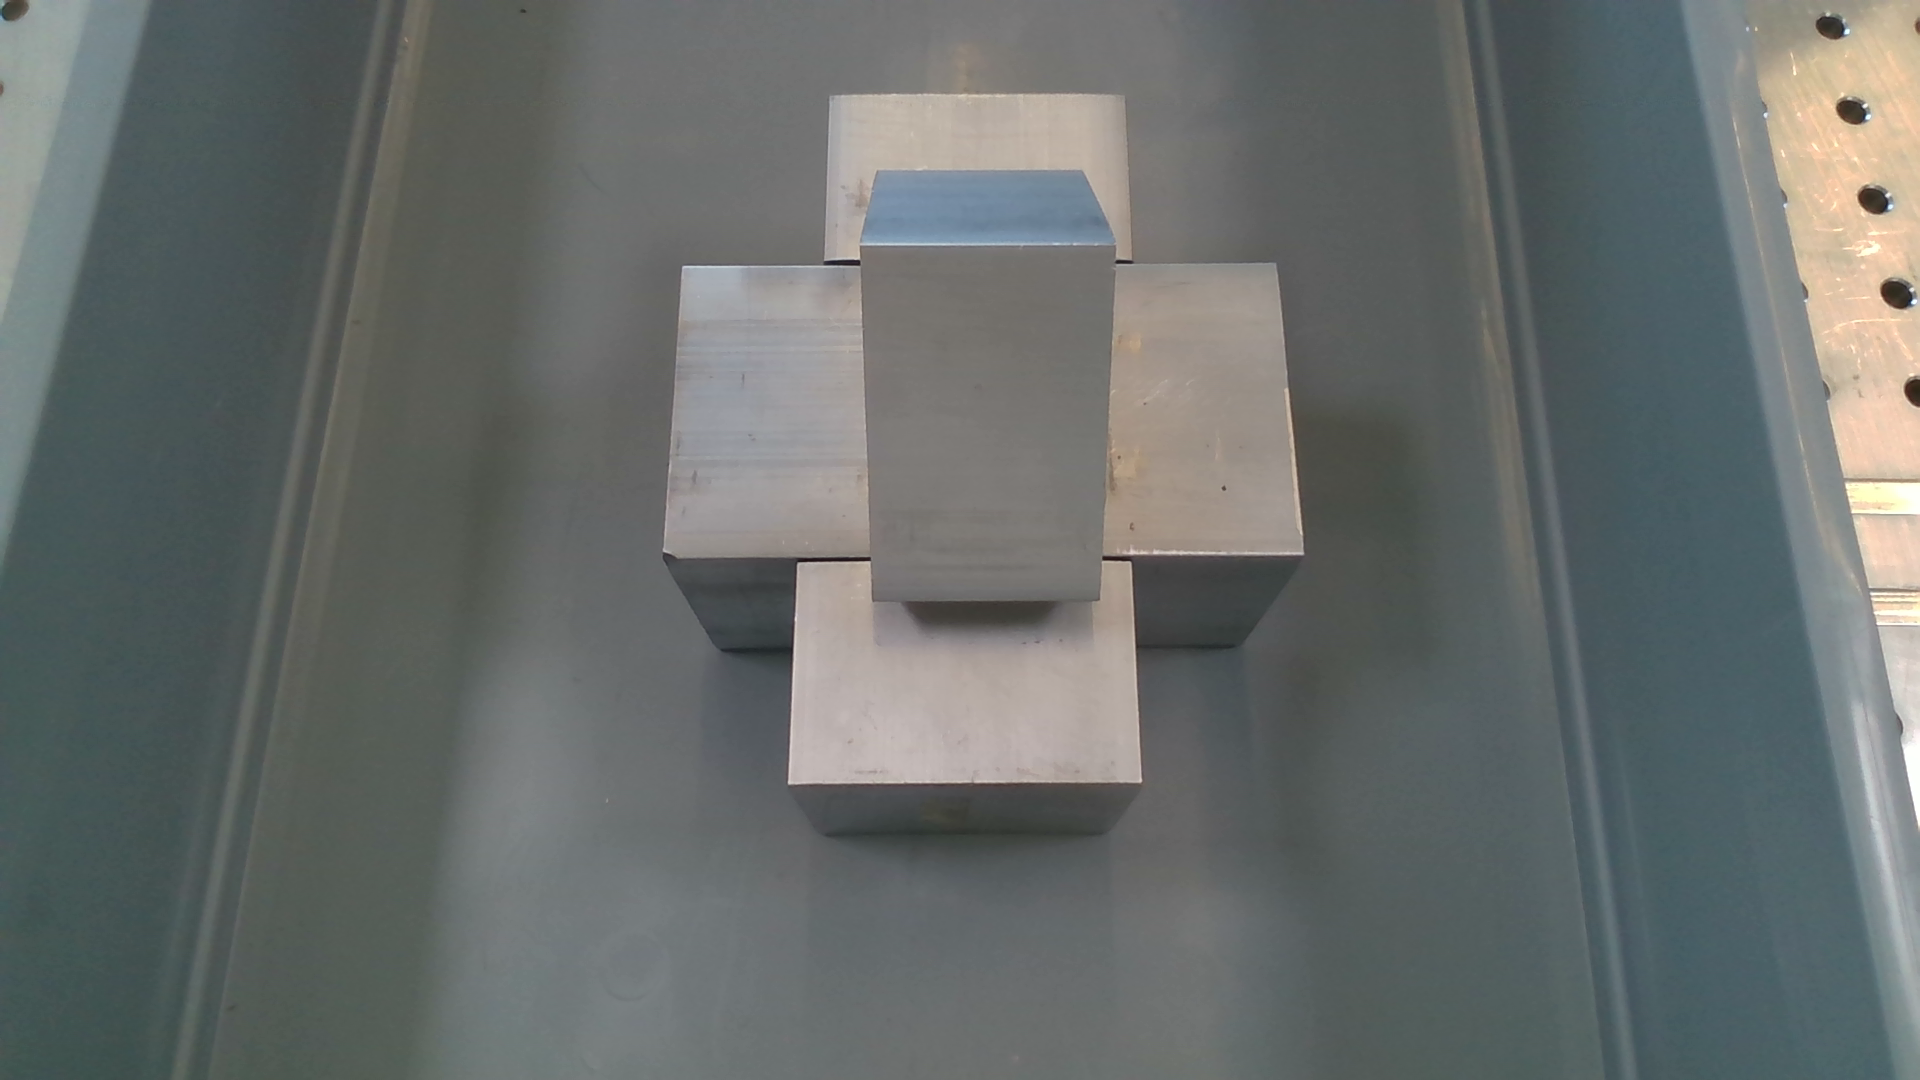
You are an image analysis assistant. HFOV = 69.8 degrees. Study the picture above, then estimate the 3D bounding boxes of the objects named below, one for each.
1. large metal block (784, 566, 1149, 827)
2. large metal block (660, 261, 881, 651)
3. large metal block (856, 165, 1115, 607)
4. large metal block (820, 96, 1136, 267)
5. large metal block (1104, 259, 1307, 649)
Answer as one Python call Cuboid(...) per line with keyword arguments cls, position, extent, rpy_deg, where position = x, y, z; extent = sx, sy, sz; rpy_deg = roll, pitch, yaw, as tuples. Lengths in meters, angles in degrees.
Cuboid(cls="large metal block", position=(0.001, 0.043, 0.348), extent=(0.080, 0.080, 0.050), rpy_deg=(0, 71, 0))
Cuboid(cls="large metal block", position=(-0.045, -0.019, 0.373), extent=(0.050, 0.080, 0.080), rpy_deg=(0, 70, 0))
Cuboid(cls="large metal block", position=(0.005, -0.039, 0.319), extent=(0.050, 0.080, 0.080), rpy_deg=(0, 115, 0))
Cuboid(cls="large metal block", position=(0.005, -0.081, 0.395), extent=(0.080, 0.080, 0.050), rpy_deg=(0, 70, 0))
Cuboid(cls="large metal block", position=(0.056, -0.020, 0.373), extent=(0.050, 0.080, 0.080), rpy_deg=(0, 70, 0))
